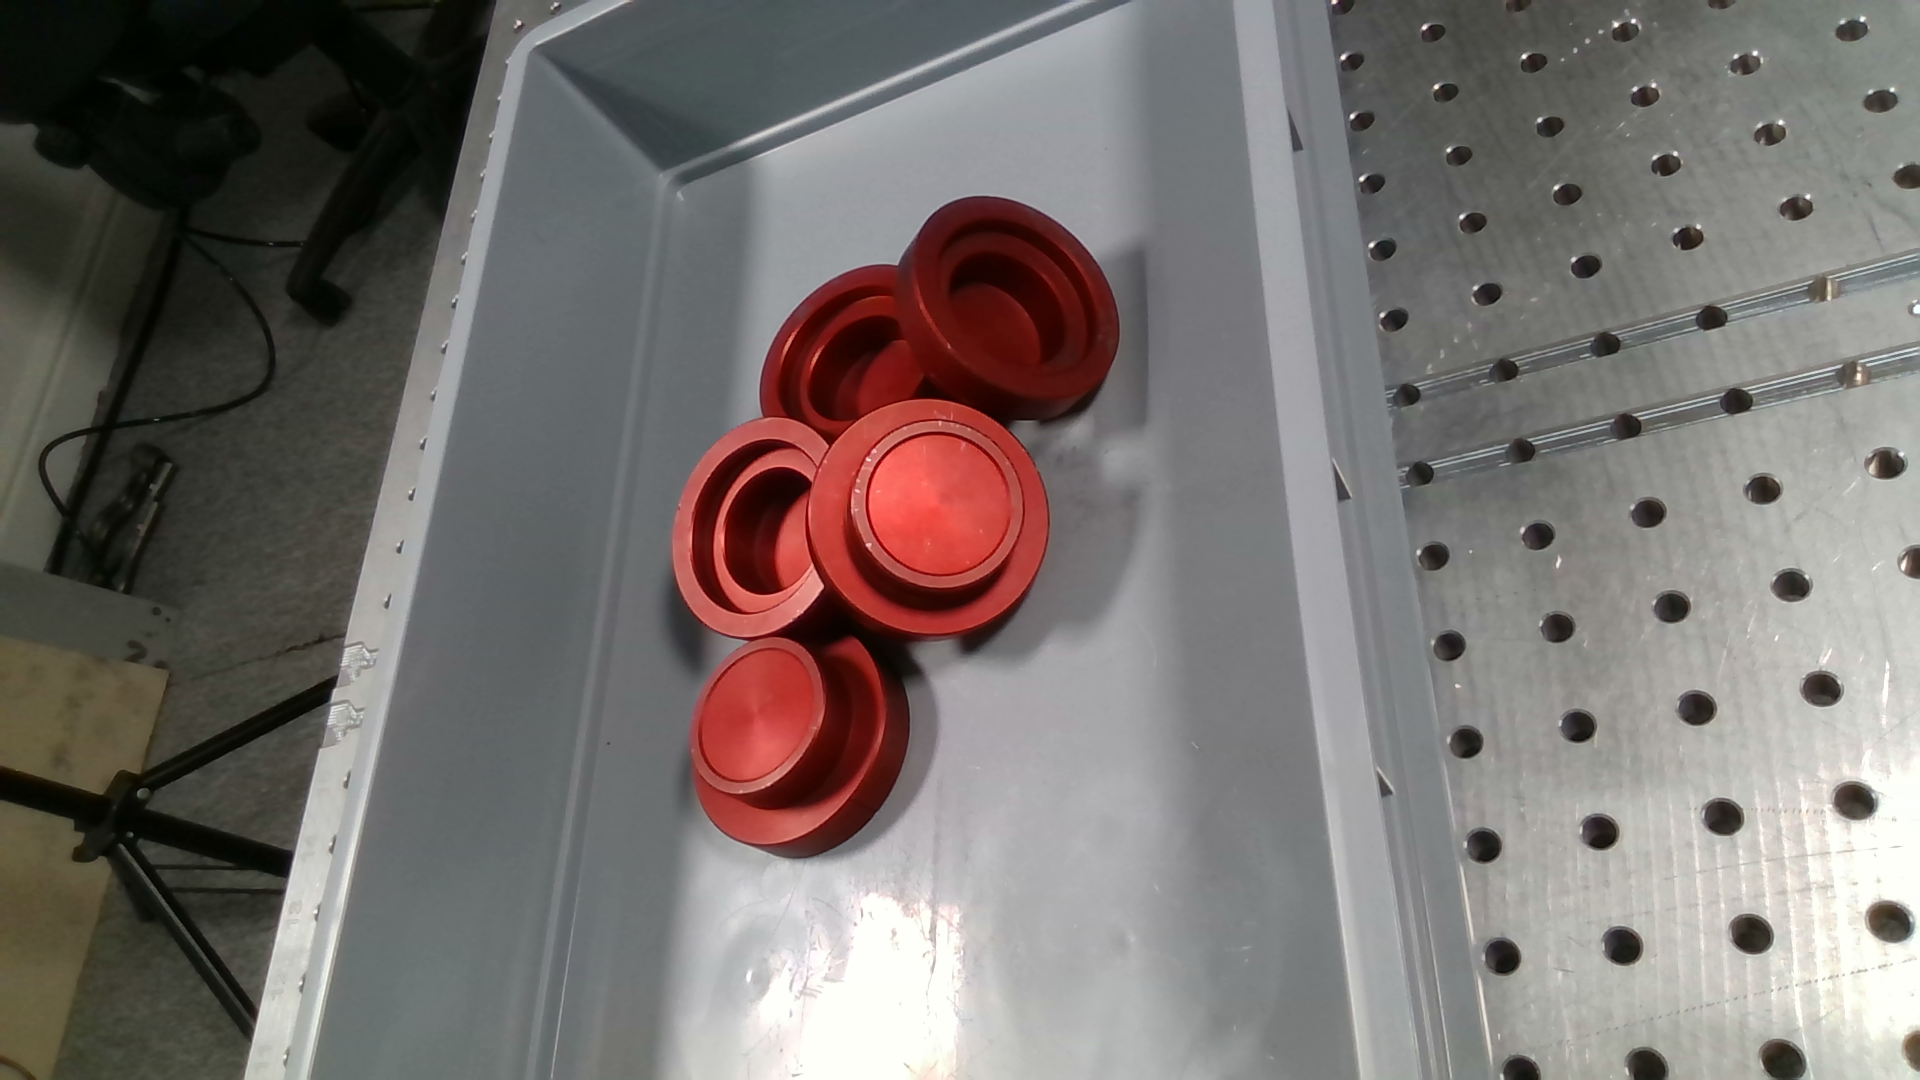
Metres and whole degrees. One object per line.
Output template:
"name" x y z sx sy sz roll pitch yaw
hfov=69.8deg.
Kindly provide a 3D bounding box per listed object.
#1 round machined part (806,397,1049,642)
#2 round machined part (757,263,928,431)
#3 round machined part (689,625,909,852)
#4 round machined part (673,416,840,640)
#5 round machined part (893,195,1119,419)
"round machined part" -0.012 -0.010 0.550 0.098 0.042 0.098 2 79 -10
"round machined part" -0.042 -0.076 0.638 0.098 0.042 0.098 -14 59 25
"round machined part" -0.074 0.079 0.576 0.098 0.042 0.098 -14 59 25
"round machined part" -0.077 -0.002 0.606 0.098 0.042 0.098 -8 75 33
"round machined part" 0.016 -0.095 0.590 0.042 0.098 0.098 -42 40 54
